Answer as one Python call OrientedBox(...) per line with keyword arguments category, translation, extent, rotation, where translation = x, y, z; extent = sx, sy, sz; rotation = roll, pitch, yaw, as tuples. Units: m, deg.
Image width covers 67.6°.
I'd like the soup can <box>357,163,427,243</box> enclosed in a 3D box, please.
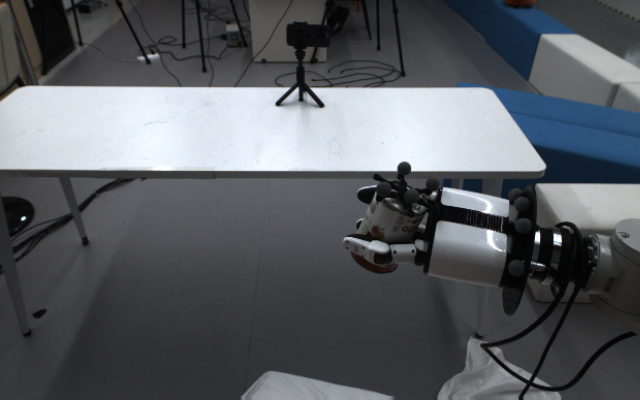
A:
OrientedBox(category="soup can", translation=(0.087, 0.034, 0.613), extent=(0.067, 0.101, 0.067), rotation=(14, 35, -10))
